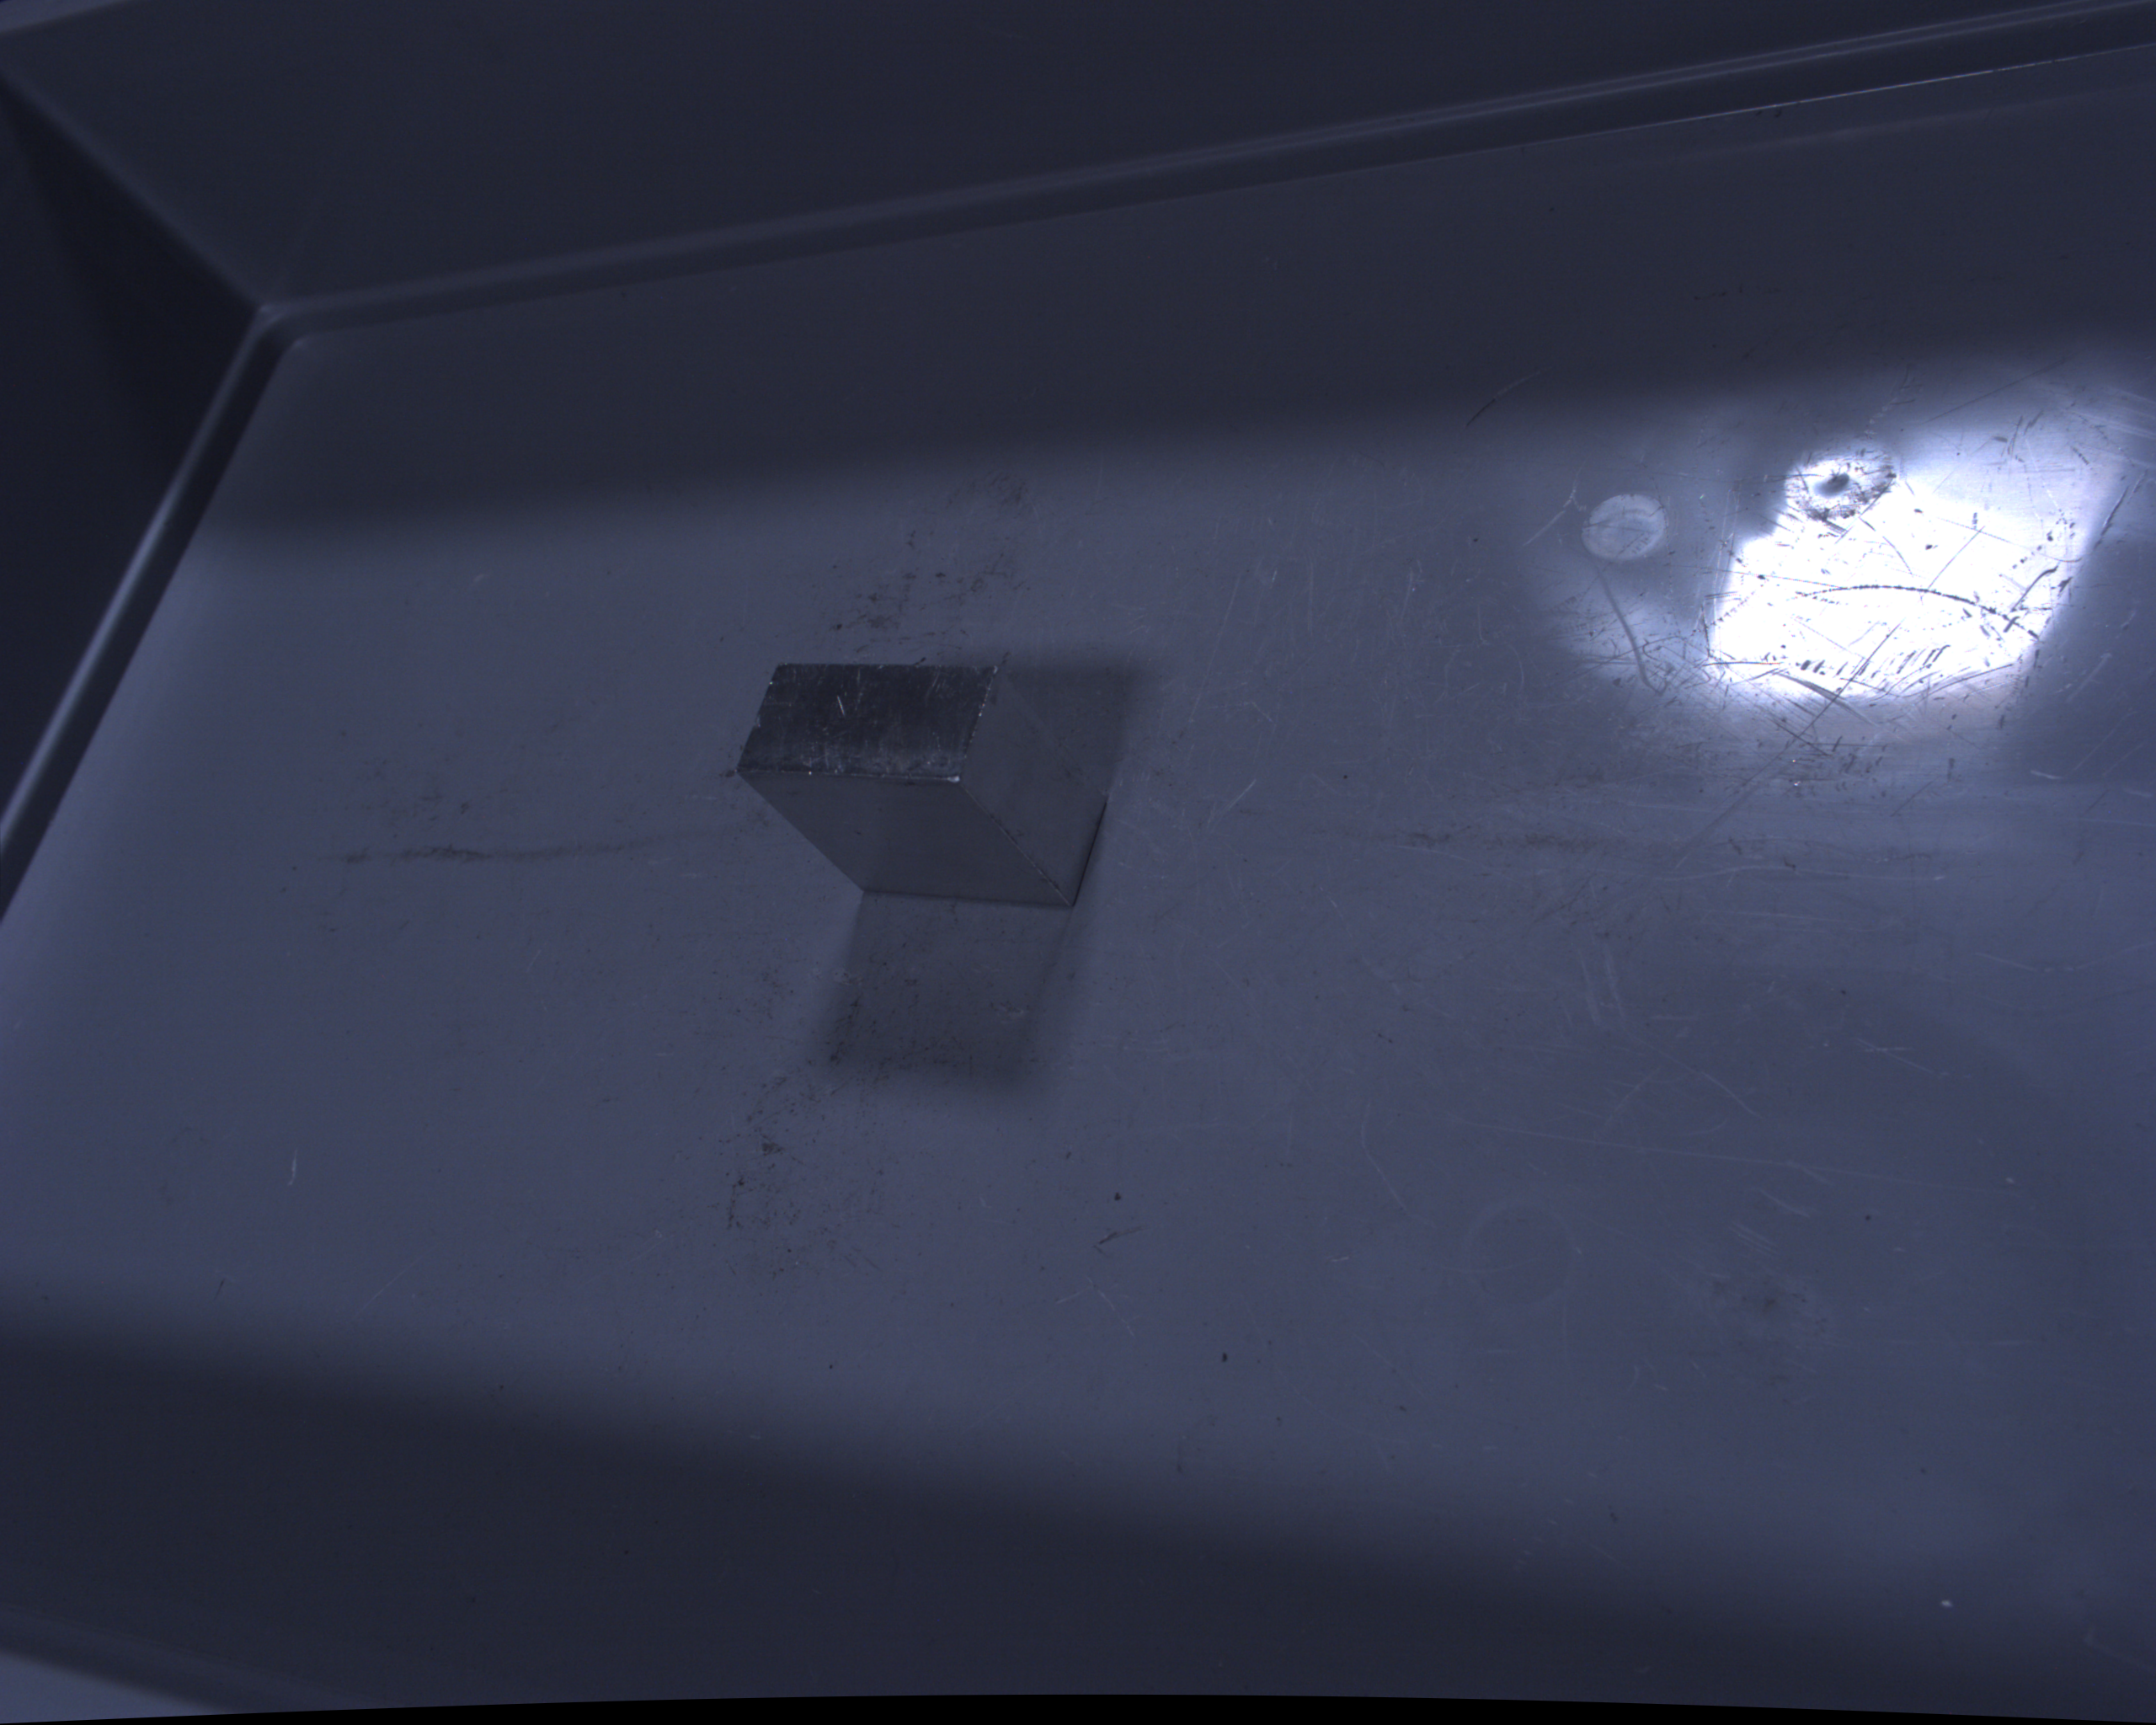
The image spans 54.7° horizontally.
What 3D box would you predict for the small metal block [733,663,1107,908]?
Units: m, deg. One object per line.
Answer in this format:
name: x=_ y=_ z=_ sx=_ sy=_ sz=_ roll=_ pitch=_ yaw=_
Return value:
small metal block: x=-0.030 y=-0.015 z=0.409 sx=0.050 sy=0.050 sz=0.025 roll=3 pitch=63 yaw=29
